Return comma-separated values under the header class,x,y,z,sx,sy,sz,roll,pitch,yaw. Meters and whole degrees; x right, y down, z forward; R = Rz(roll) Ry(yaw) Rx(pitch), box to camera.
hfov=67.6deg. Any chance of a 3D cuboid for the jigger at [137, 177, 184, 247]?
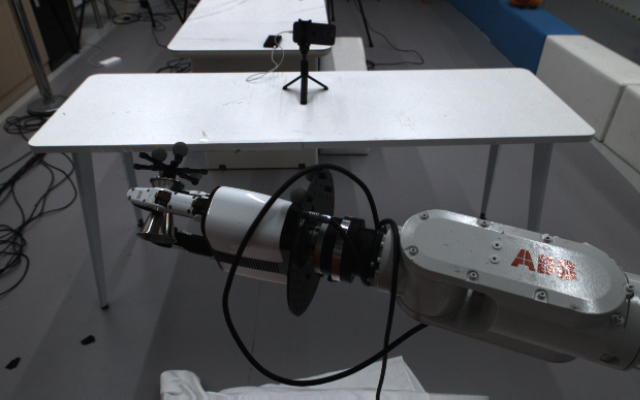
class,x,y,z,sx,sy,sz,roll,pitch,yaw
jigger,-0.182,0.012,0.557,0.043,0.043,0.071,5,71,4
